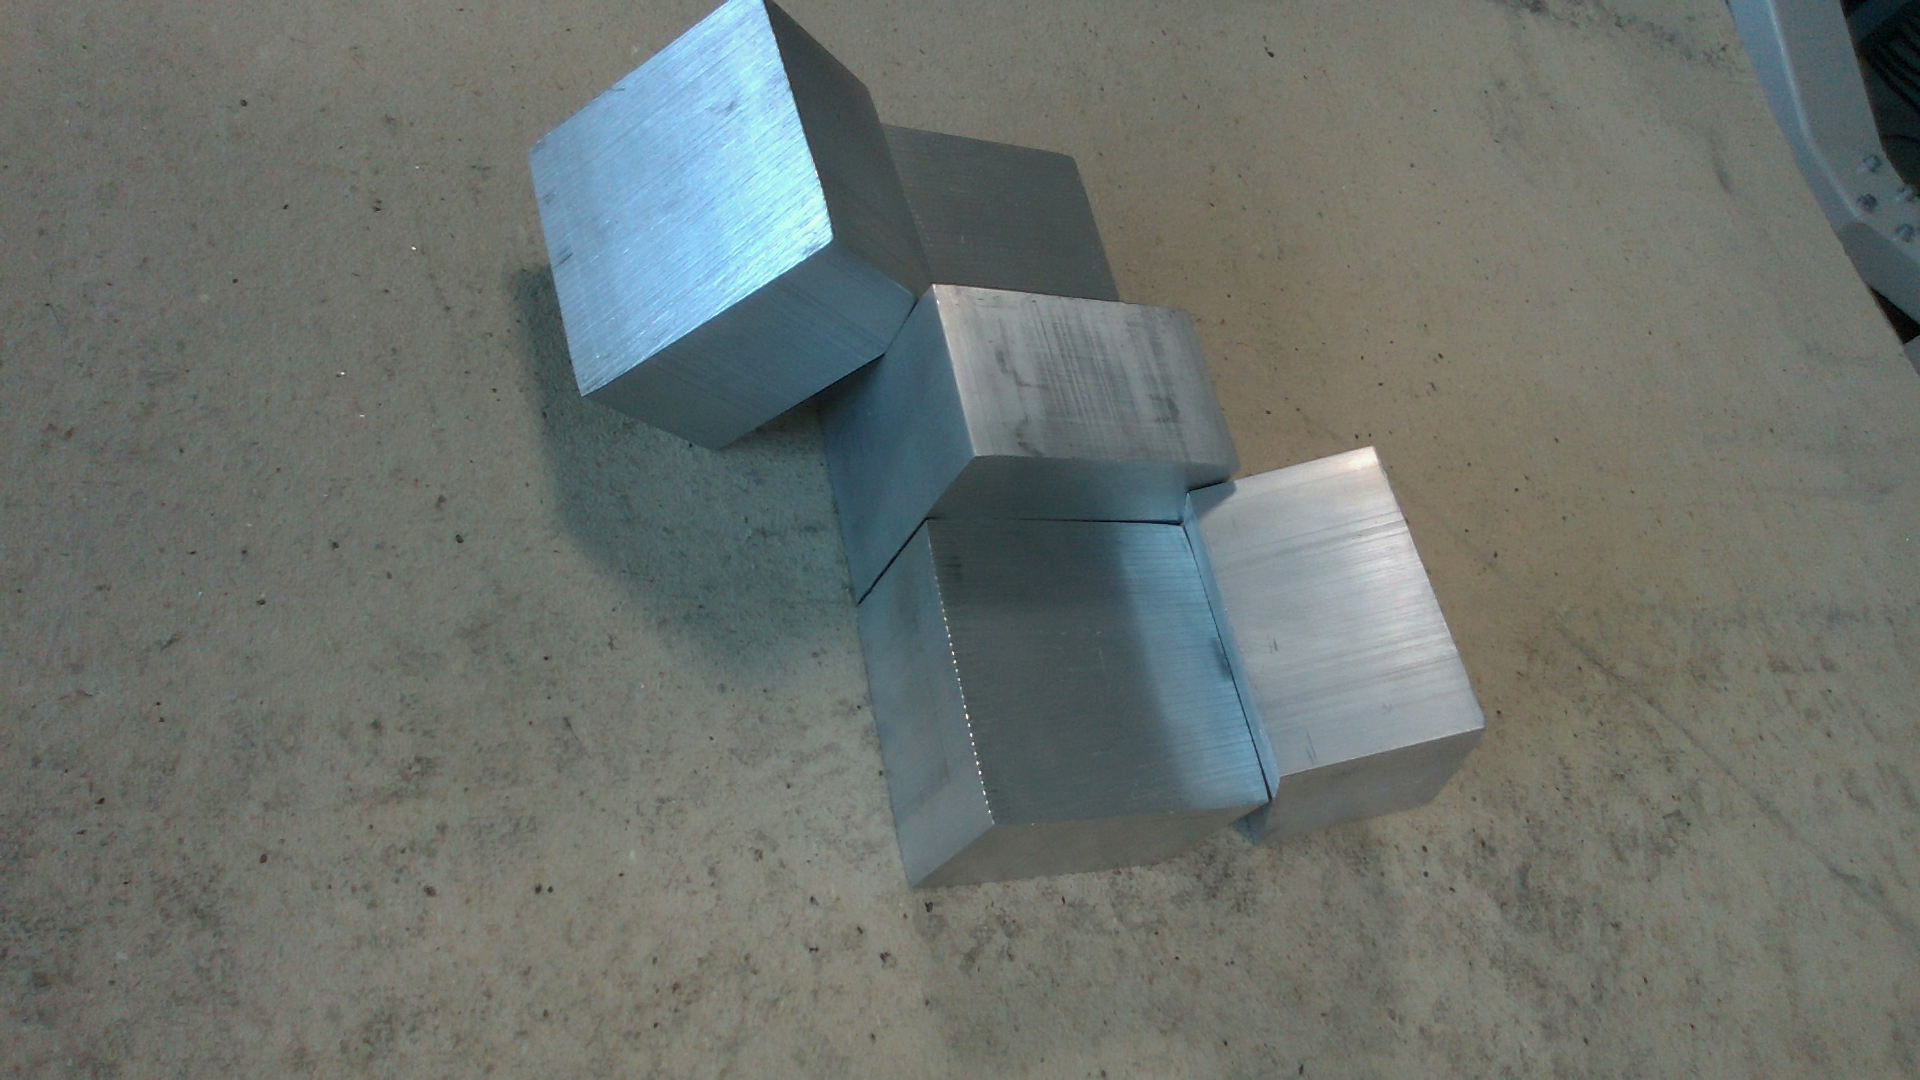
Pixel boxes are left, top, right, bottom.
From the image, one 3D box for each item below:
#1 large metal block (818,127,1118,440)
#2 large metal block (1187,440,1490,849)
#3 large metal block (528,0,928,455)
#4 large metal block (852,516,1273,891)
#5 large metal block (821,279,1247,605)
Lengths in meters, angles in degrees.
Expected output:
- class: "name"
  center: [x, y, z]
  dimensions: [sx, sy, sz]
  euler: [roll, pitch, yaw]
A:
- class: "large metal block"
  center: [-0.002, -0.074, 0.416]
  dimensions: [0.080, 0.050, 0.080]
  euler: [0, 61, -28]
- class: "large metal block"
  center: [0.097, 0.032, 0.378]
  dimensions: [0.050, 0.080, 0.080]
  euler: [-14, 65, 1]
- class: "large metal block"
  center: [-0.060, -0.081, 0.363]
  dimensions: [0.050, 0.080, 0.080]
  euler: [25, 43, -58]
- class: "large metal block"
  center: [0.024, 0.042, 0.361]
  dimensions: [0.080, 0.050, 0.080]
  euler: [1, 62, -27]
- class: "large metal block"
  center: [0.017, -0.023, 0.378]
  dimensions: [0.080, 0.080, 0.050]
  euler: [0, 61, -28]
